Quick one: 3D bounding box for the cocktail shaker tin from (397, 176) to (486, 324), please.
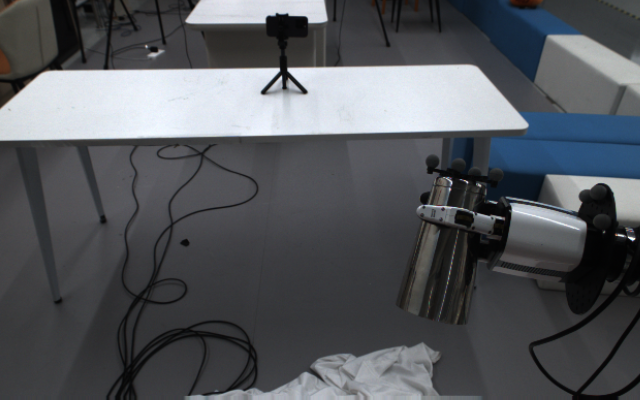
[{"bbox_3d":[0.164,0.058,0.616,0.093,0.170,0.093,13,1,0],"label":"cocktail shaker tin"}]
